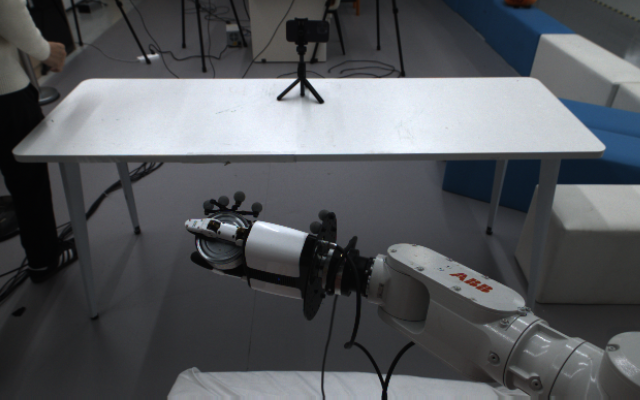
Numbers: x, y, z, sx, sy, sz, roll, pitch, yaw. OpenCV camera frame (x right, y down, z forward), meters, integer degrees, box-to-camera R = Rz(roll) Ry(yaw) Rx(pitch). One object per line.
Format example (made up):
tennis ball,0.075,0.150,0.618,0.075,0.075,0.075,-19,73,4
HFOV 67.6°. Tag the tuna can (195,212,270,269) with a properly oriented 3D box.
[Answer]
tuna can,-0.138,0.062,0.739,0.085,0.034,0.085,-3,61,6
